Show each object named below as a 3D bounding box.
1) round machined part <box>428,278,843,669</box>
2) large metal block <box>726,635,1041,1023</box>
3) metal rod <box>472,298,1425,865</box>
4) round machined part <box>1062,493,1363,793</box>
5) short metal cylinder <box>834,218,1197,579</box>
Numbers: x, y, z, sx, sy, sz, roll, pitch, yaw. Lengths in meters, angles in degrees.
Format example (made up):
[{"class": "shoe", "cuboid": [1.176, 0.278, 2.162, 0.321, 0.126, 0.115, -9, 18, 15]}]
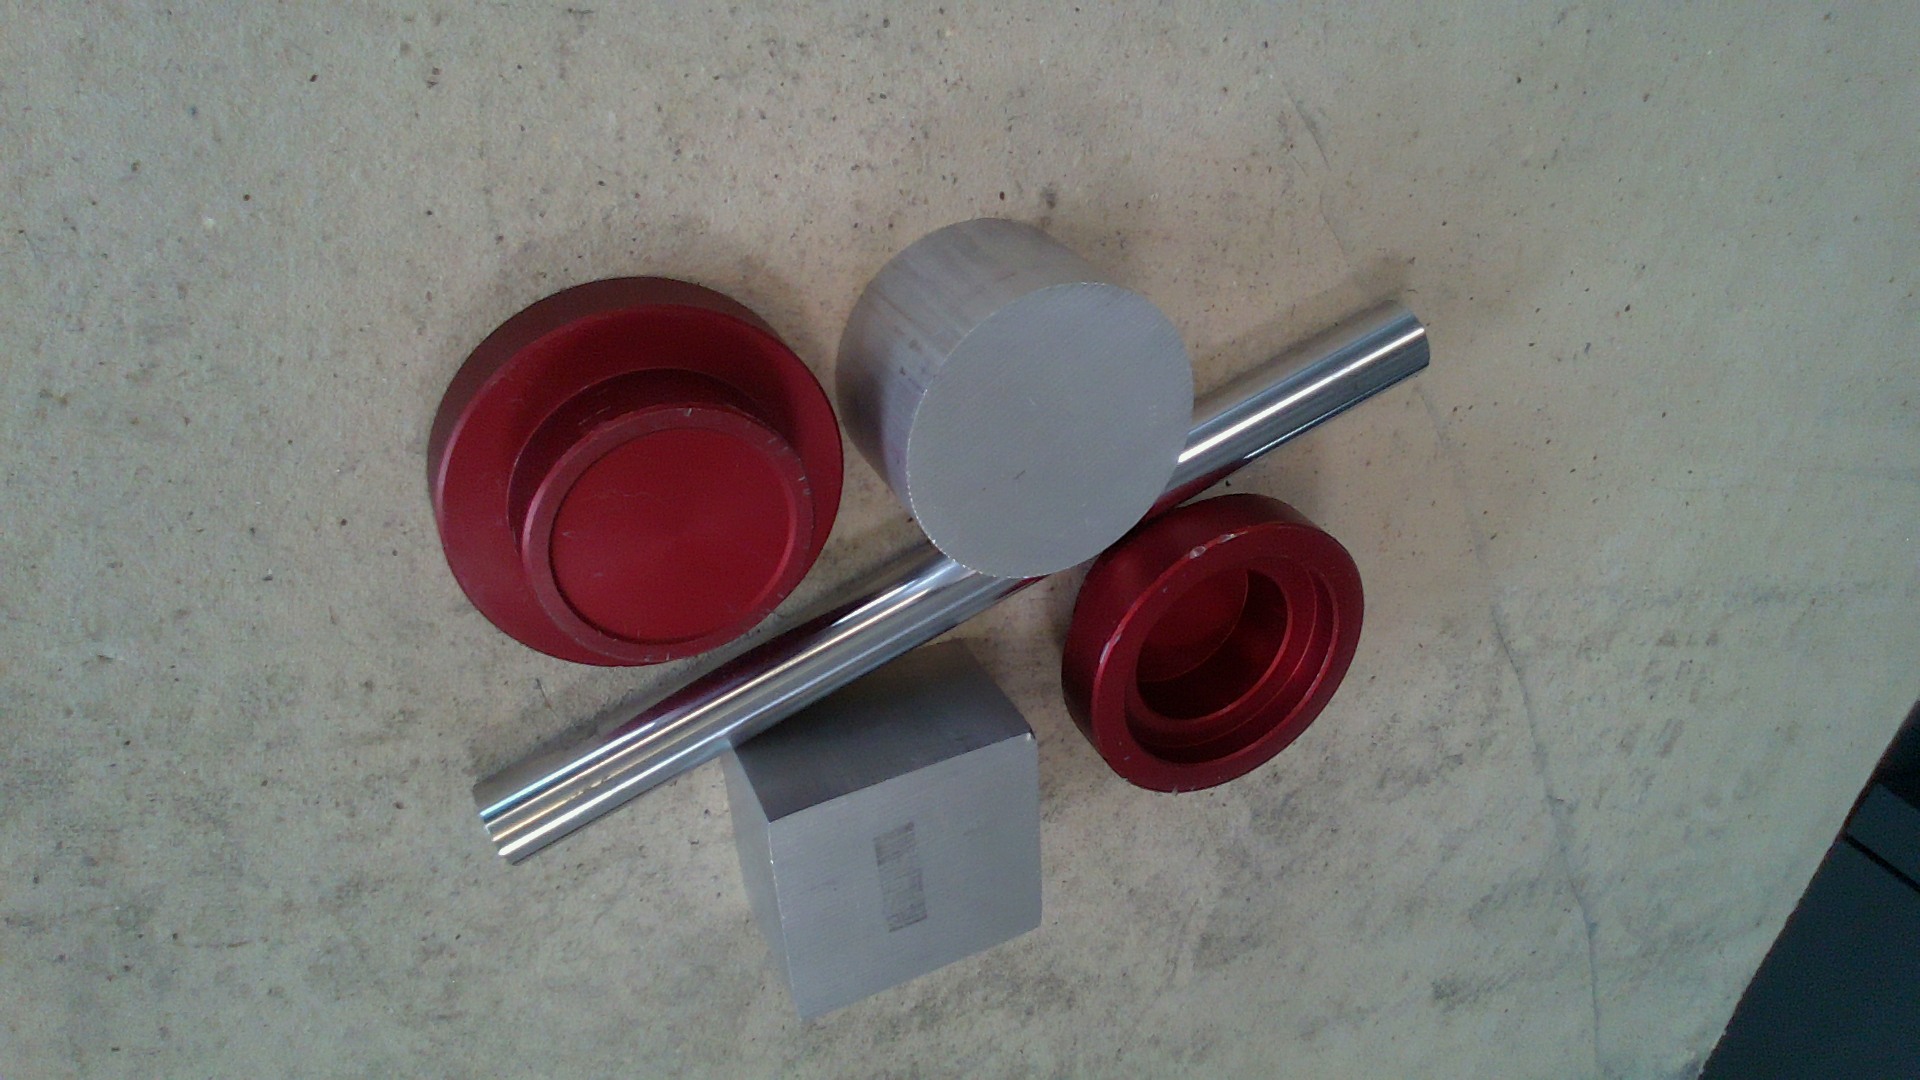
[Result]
[{"class": "round machined part", "cuboid": [-0.074, -0.009, 0.332, 0.098, 0.042, 0.098, -14, 124, -21]}, {"class": "large metal block", "cuboid": [-0.023, 0.085, 0.414, 0.080, 0.050, 0.080, -16, 125, -19]}, {"class": "metal rod", "cuboid": [0.005, 0.006, 0.397, 0.300, 0.025, 0.025, -28, 128, -11]}, {"class": "round machined part", "cuboid": [0.075, 0.028, 0.436, 0.098, 0.042, 0.098, -14, 124, -21]}, {"class": "short metal cylinder", "cuboid": [0.014, -0.037, 0.357, 0.080, 0.050, 0.080, -14, 124, -21]}]
